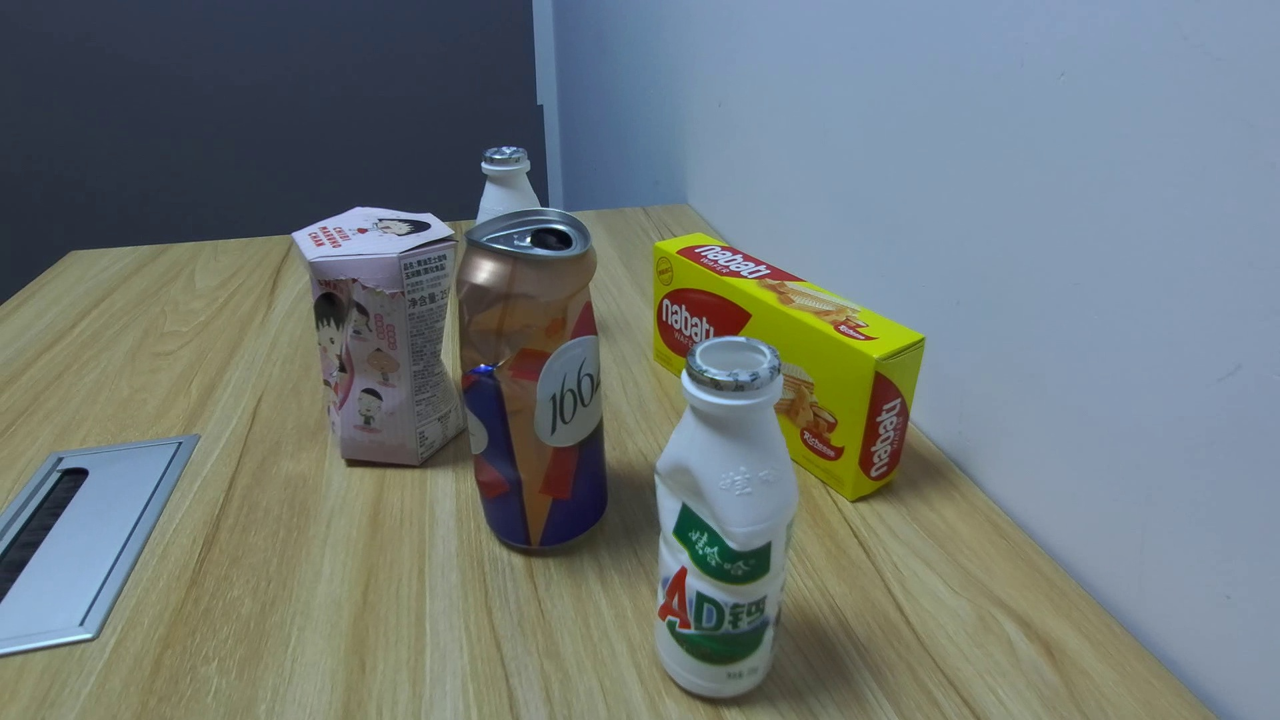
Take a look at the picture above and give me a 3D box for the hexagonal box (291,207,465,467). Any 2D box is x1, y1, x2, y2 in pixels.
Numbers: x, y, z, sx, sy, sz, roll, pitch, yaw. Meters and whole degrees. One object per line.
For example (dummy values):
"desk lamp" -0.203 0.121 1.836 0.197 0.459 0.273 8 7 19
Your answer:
"hexagonal box" -0.150 -0.015 0.425 0.090 0.134 0.091 6 30 5

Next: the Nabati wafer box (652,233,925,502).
"Nabati wafer box" 0.079 -0.007 0.446 0.042 0.093 0.202 -18 34 -28

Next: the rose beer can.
"rose beer can" -0.051 0.014 0.349 0.068 0.162 0.073 -7 29 -12

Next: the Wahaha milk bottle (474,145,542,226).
"Wahaha milk bottle" -0.091 -0.078 0.521 0.053 0.147 0.053 -5 14 1
